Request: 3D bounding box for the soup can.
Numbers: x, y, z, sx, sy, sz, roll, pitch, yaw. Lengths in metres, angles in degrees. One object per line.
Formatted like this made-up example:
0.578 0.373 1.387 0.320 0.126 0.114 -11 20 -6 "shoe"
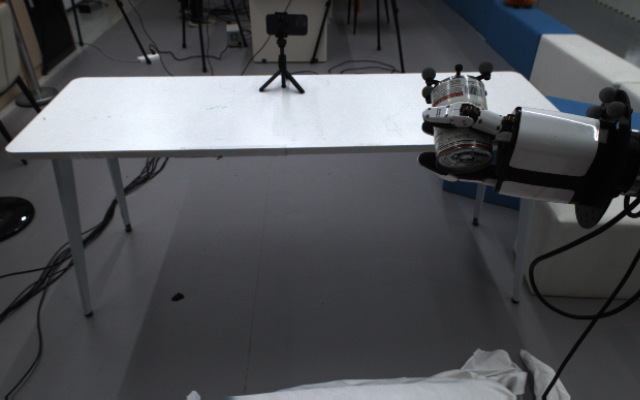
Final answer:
0.174 -0.093 0.594 0.067 0.067 0.101 2 68 0 "soup can"
